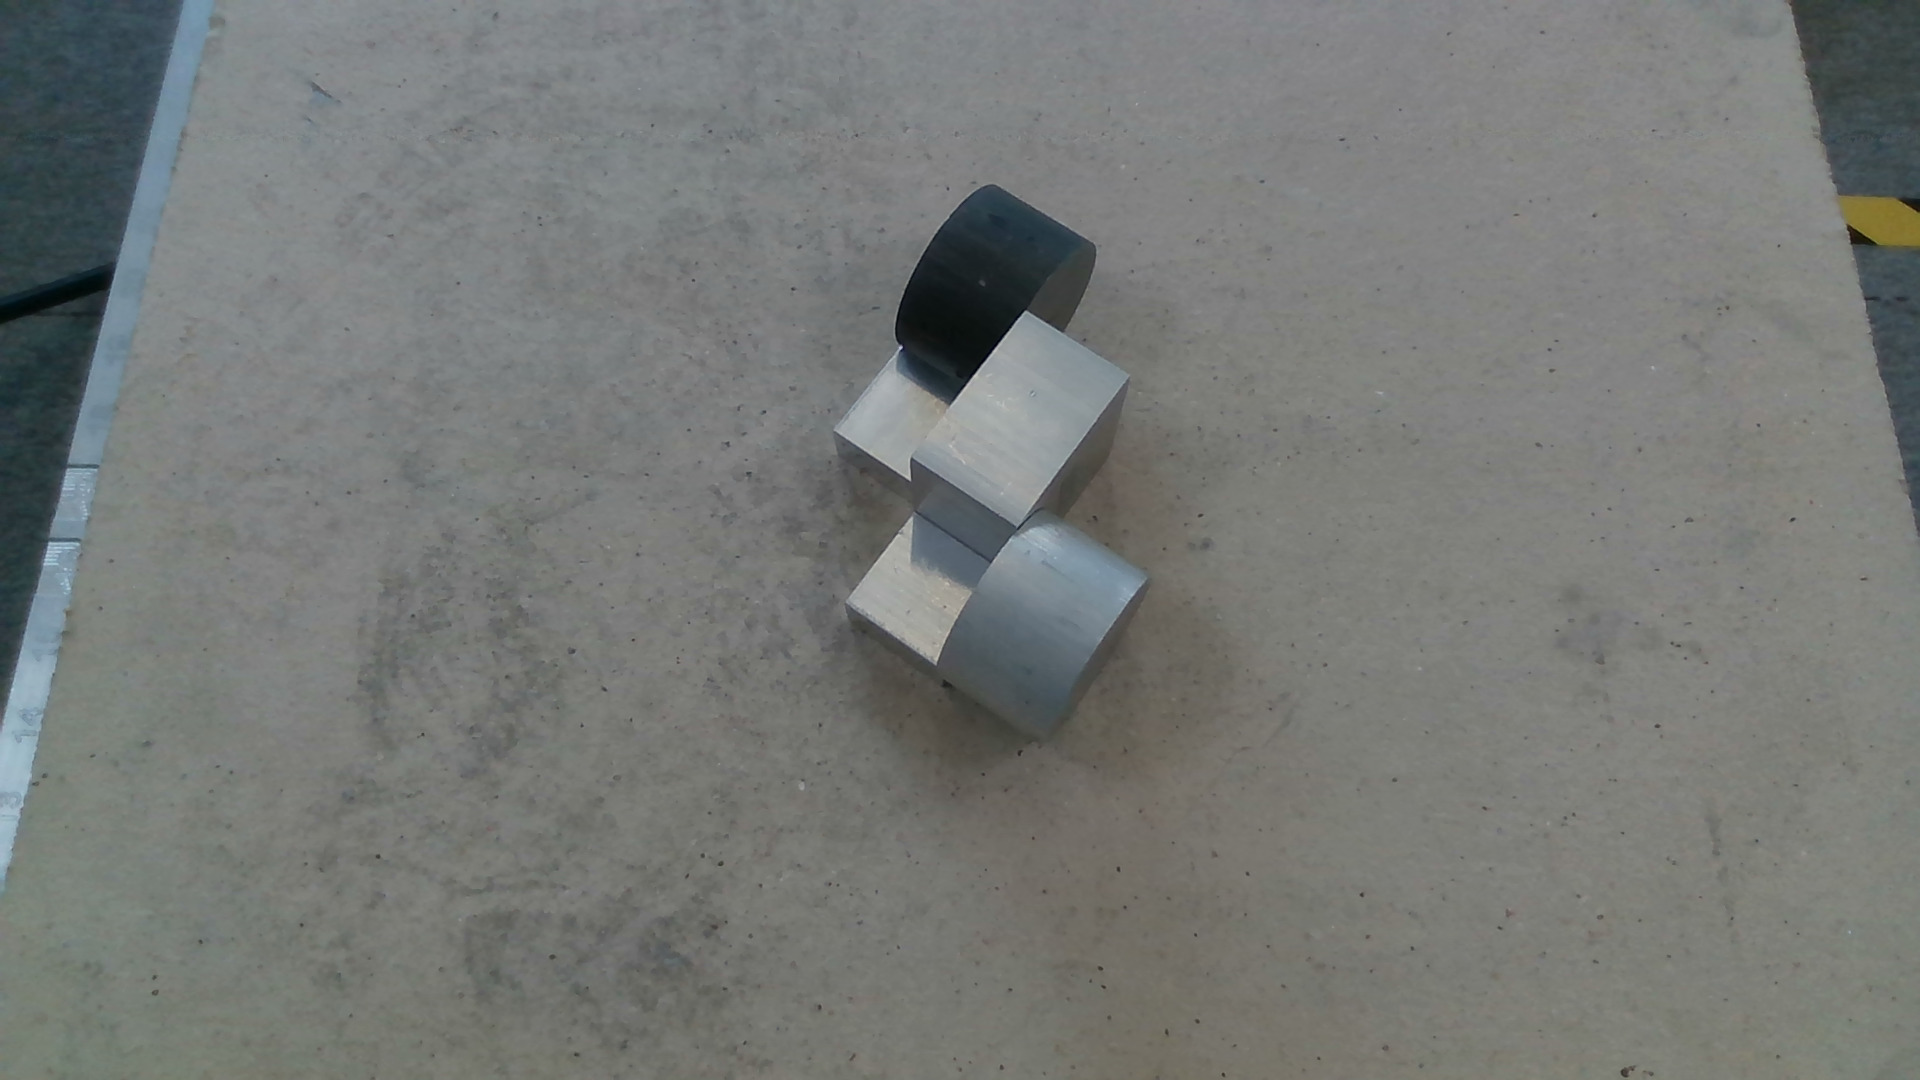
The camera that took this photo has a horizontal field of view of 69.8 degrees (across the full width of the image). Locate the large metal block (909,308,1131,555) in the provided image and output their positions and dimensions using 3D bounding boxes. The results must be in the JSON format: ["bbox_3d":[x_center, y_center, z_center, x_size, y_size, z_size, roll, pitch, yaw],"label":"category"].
[{"bbox_3d":[0.024,-0.035,0.573,0.050,0.080,0.080,33,74,11],"label":"large metal block"}]

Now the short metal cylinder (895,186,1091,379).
[{"bbox_3d":[0.016,-0.106,0.597,0.050,0.080,0.080,33,74,11],"label":"short metal cylinder"}]

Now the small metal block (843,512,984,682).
[{"bbox_3d":[-0.013,0.024,0.580,0.050,0.025,0.050,34,74,11],"label":"small metal block"}]

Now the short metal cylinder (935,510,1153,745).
[{"bbox_3d":[0.034,0.034,0.547,0.050,0.080,0.080,34,74,11],"label":"short metal cylinder"}]

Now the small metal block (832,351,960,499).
[{"bbox_3d":[-0.020,-0.049,0.607,0.050,0.025,0.050,34,74,11],"label":"small metal block"}]
